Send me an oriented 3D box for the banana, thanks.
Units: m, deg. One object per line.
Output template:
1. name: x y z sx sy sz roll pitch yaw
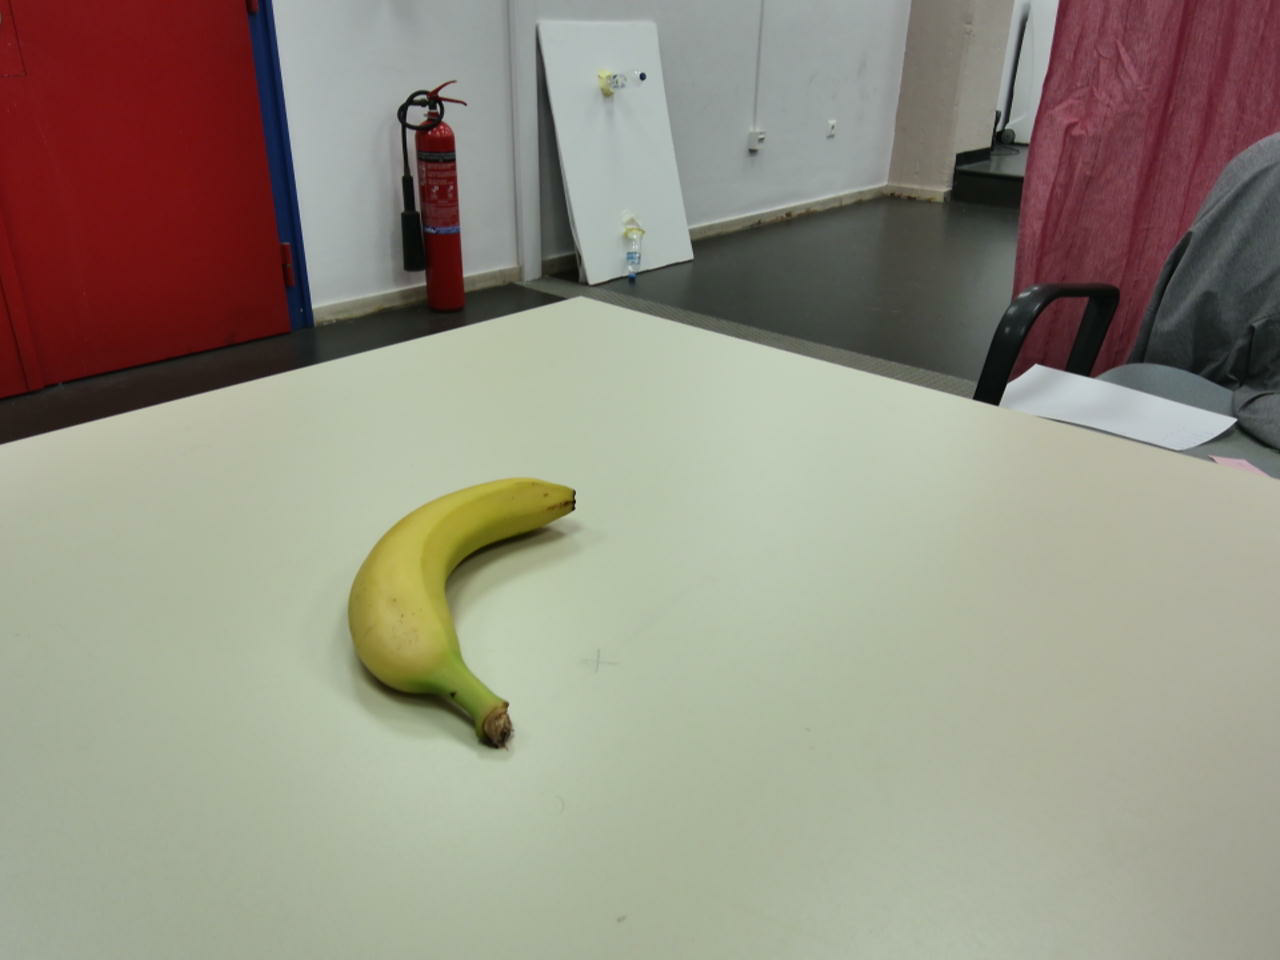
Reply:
1. banana: -0.090 0.048 0.485 0.094 0.041 0.196 3 24 4
